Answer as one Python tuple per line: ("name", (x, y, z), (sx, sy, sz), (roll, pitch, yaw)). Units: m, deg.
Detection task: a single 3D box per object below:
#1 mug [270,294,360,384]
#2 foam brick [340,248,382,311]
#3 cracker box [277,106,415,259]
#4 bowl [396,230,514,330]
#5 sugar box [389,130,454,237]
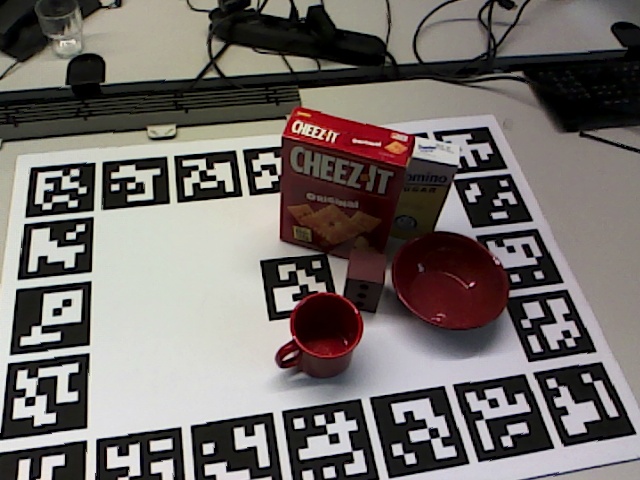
("mug", (-0.007, 0.134, 0.795), (0.117, 0.081, 0.094), (-15, 48, -12))
("foam brick", (0.057, 0.056, 0.869), (0.053, 0.078, 0.051), (6, 52, 1))
("cracker box", (0.027, -0.065, 0.869), (0.164, 0.213, 0.072), (18, 52, 9))
("bowl", (0.183, 0.065, 0.865), (0.161, 0.055, 0.162), (1, 54, -2))
("sugar box", (0.133, -0.078, 0.906), (0.093, 0.176, 0.045), (11, 53, 5))
